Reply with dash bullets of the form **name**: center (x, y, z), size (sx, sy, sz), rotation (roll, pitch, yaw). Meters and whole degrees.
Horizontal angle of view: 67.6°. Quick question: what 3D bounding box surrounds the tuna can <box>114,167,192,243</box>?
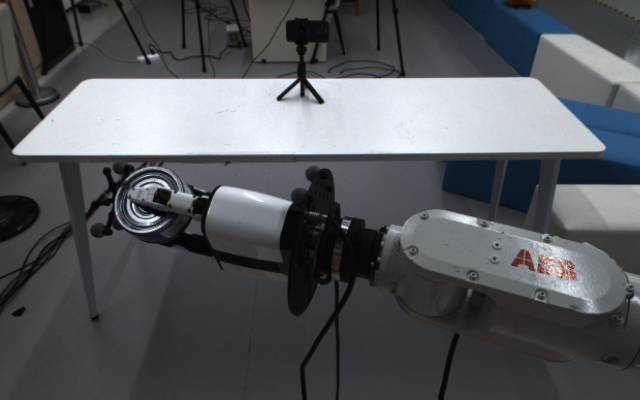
- **tuna can**: center (-0.189, 0.005, 0.559), size (0.085, 0.034, 0.085), rotation (-3, 69, 7)
